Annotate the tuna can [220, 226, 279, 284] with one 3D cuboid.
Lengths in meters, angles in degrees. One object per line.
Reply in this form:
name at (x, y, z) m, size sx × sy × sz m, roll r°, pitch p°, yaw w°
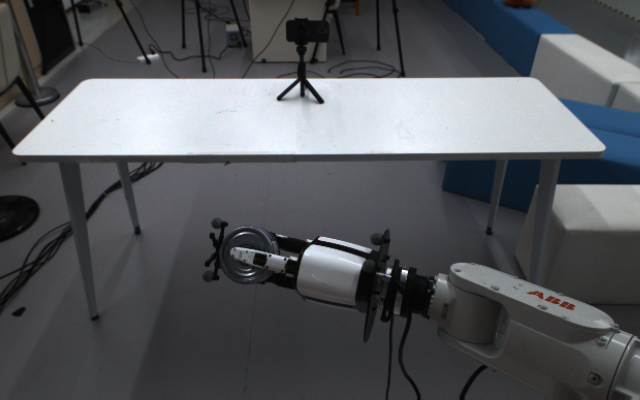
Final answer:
tuna can at (-0.101, 0.081, 0.713) m, size 0.085 × 0.085 × 0.034 m, roll 10°, pitch -6°, yaw 11°
